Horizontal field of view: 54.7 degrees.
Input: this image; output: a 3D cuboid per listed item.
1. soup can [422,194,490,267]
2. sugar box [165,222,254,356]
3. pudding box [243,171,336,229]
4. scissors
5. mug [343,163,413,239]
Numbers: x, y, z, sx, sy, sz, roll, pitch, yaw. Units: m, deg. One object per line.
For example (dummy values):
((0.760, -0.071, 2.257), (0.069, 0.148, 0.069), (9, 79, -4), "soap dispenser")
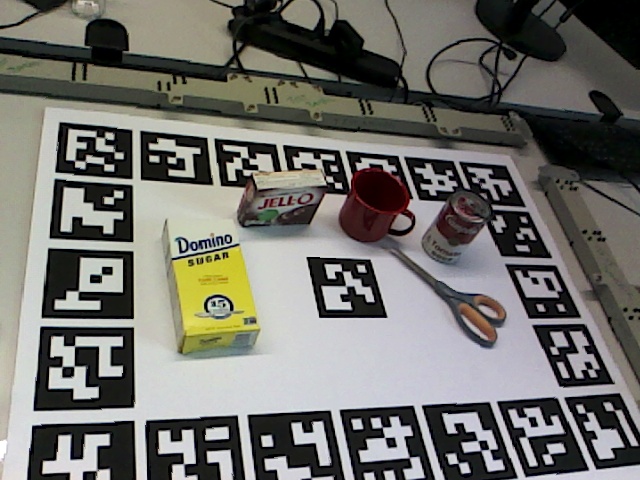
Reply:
((0.208, -0.013, 0.959), (0.068, 0.102, 0.068), (10, 50, -13), "soup can")
((-0.145, 0.057, 0.798), (0.092, 0.045, 0.177), (-1, 56, -20), "sugar box")
((-0.045, -0.058, 0.888), (0.113, 0.090, 0.039), (-6, 63, -26), "pudding box")
((0.193, 0.084, 0.922), (0.203, 0.016, 0.087), (40, 60, 10), "scissors")
((0.092, -0.048, 0.945), (0.117, 0.081, 0.093), (44, 53, 16), "mug")
